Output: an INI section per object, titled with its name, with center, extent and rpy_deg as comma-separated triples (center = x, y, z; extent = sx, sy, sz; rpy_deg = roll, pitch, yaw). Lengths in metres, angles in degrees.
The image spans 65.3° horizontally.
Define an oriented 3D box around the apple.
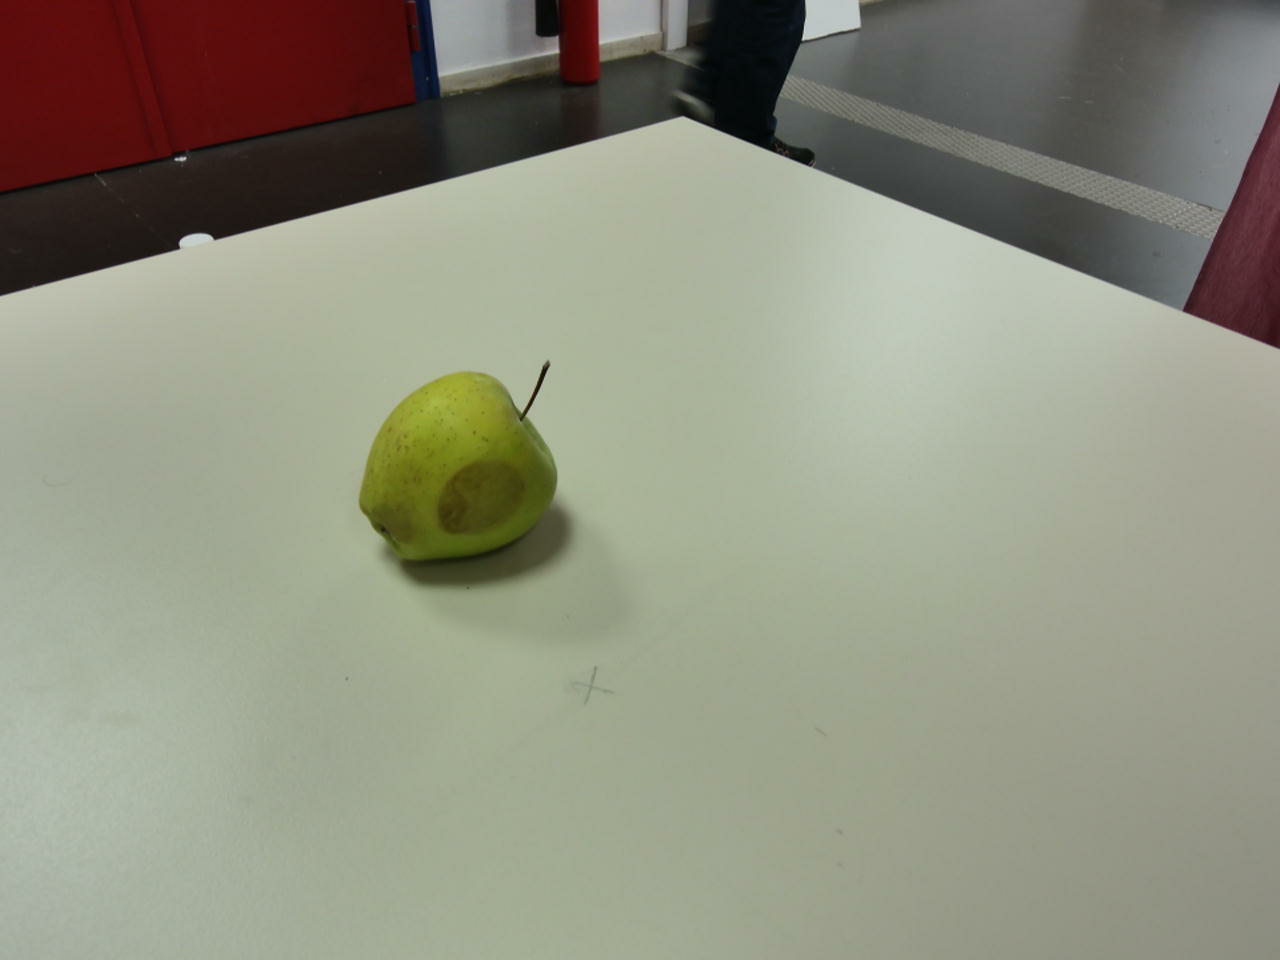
[apple]
center = -0.073, -0.007, 0.409
extent = 0.077, 0.075, 0.072
rpy_deg = 4, 37, 3
